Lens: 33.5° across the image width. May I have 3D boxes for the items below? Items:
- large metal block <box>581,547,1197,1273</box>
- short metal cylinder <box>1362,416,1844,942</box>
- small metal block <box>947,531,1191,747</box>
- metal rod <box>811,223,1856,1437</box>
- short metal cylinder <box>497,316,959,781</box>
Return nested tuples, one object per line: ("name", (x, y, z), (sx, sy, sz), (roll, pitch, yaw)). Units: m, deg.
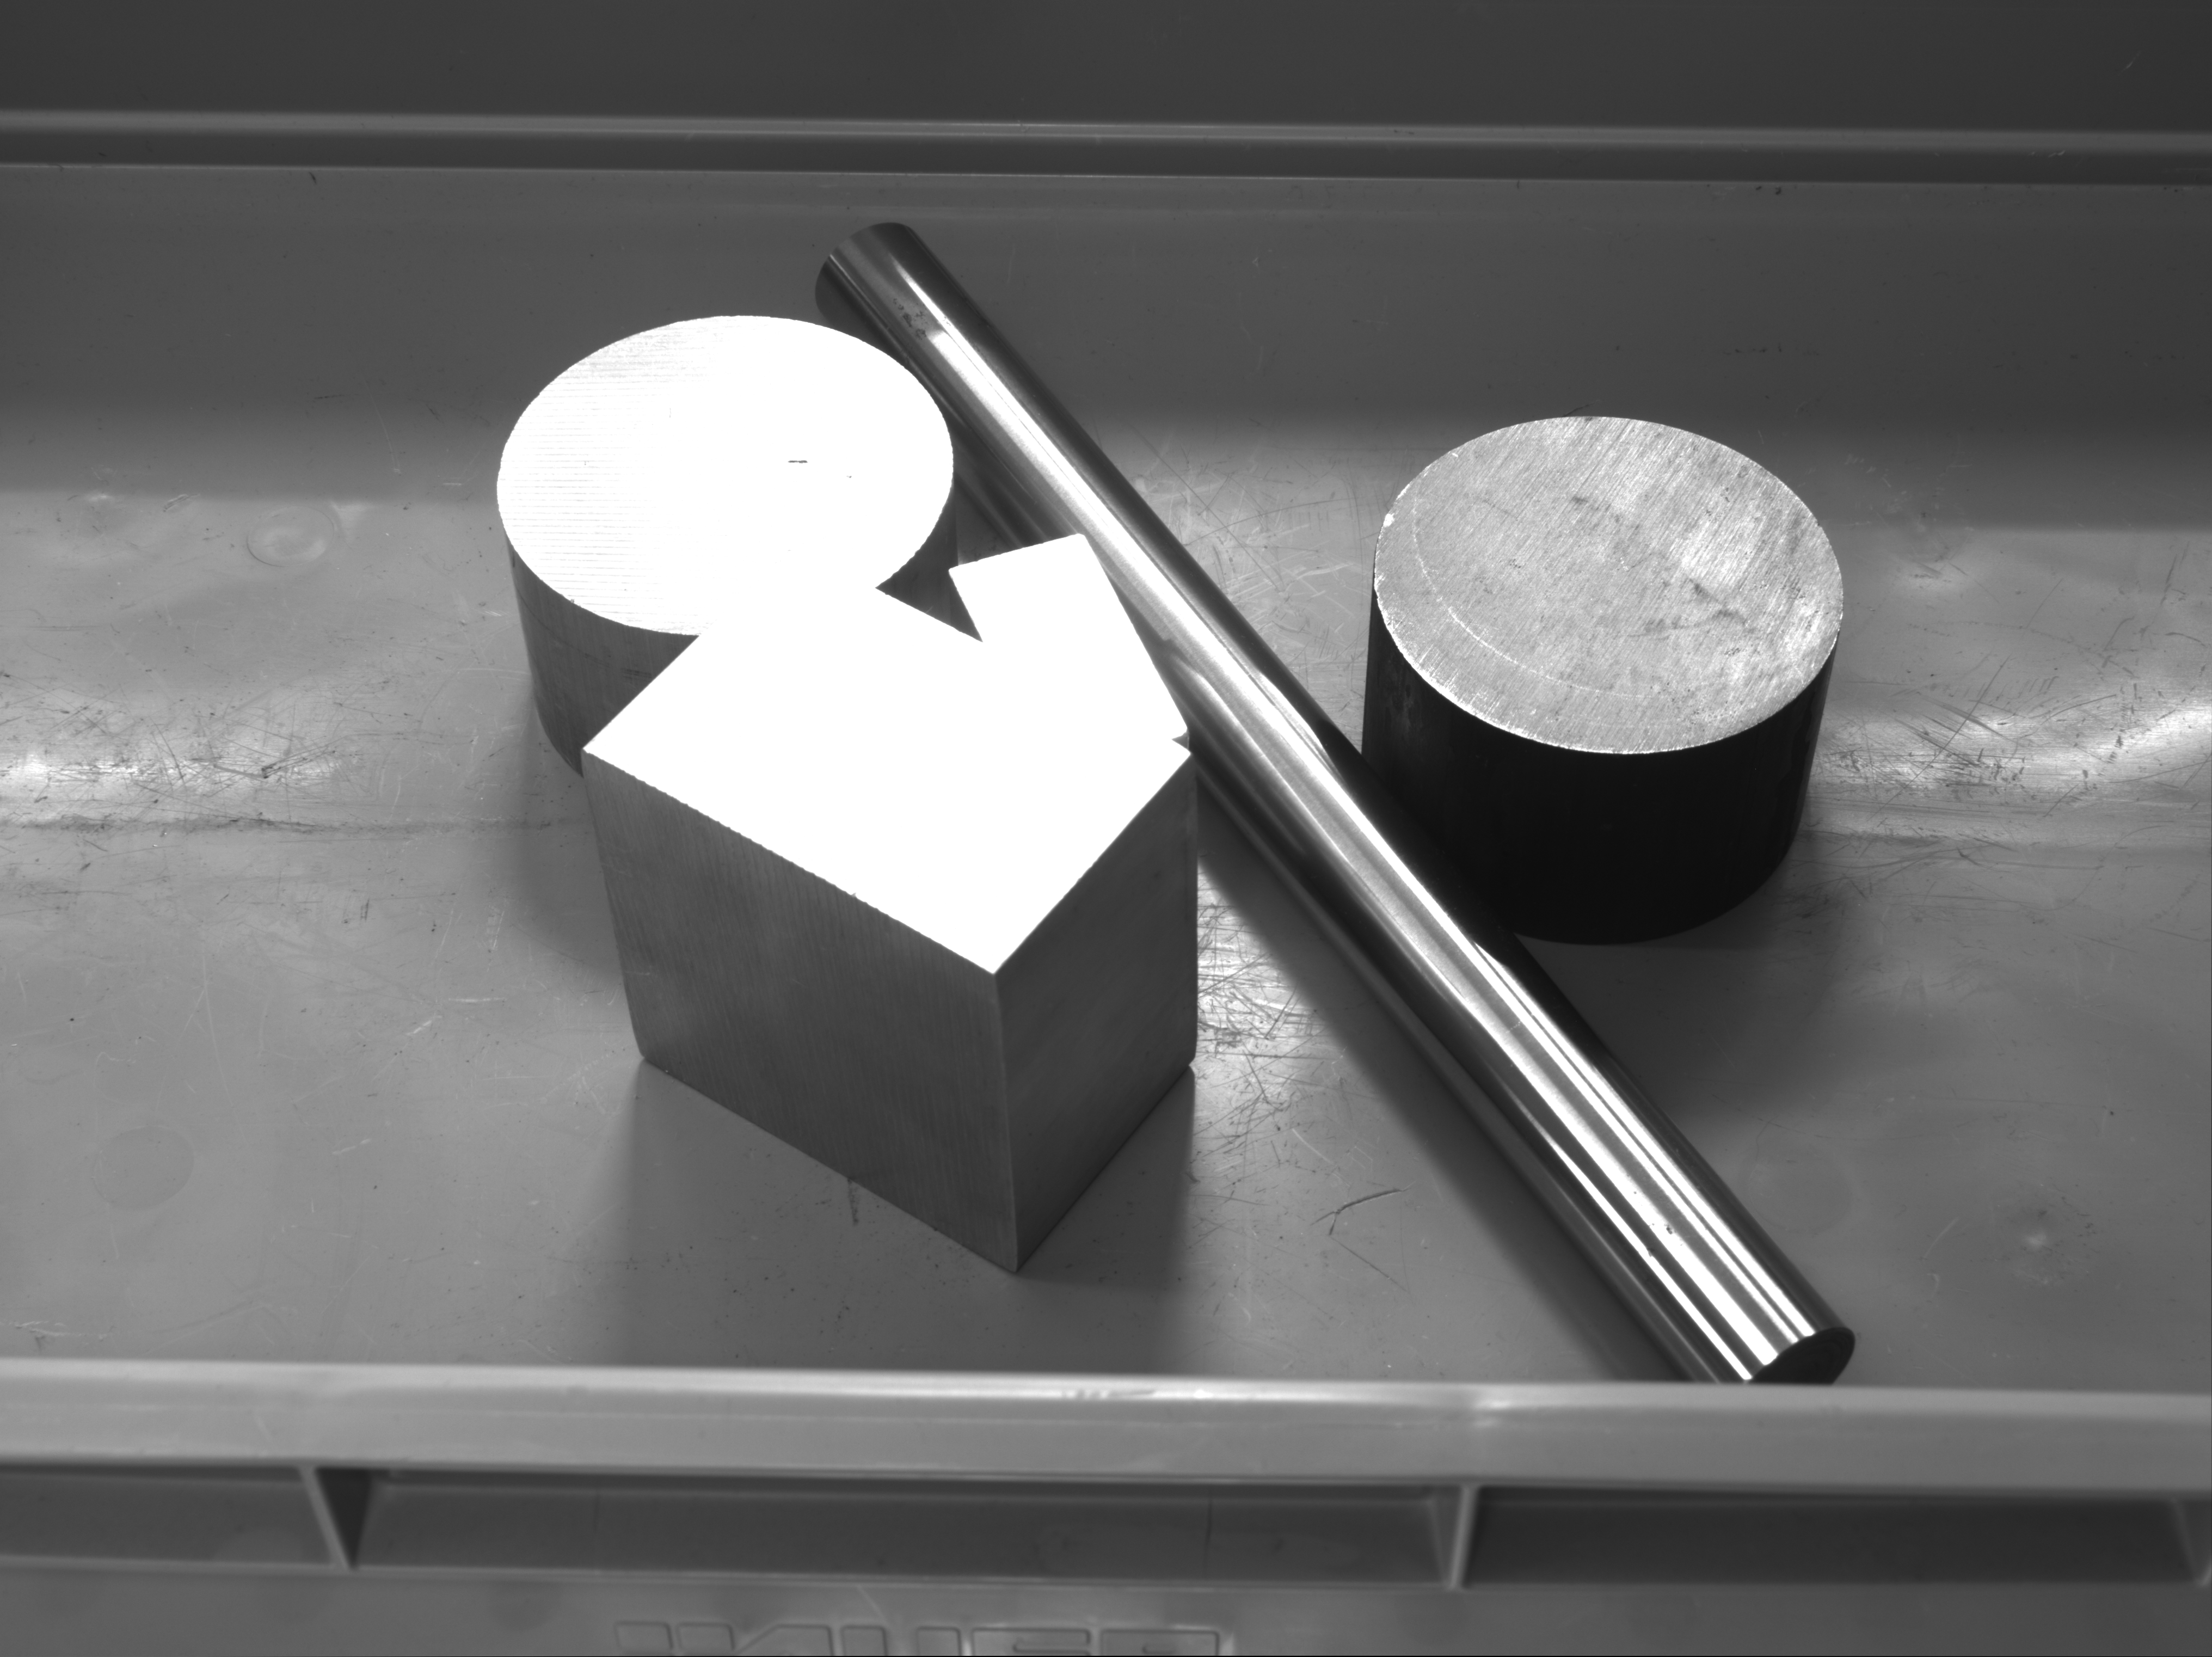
("large metal block", (-0.033, 0.013, 0.593), (0.080, 0.080, 0.050), (27, 56, 22))
("short metal cylinder", (0.086, -0.027, 0.647), (0.080, 0.050, 0.080), (0, 50, 0))
("small metal block", (-0.006, -0.014, 0.636), (0.025, 0.050, 0.050), (-16, 52, -13))
("metal rod", (0.029, -0.012, 0.651), (0.025, 0.025, 0.299), (-25, 54, -19))
("short metal cylinder", (-0.067, -0.047, 0.664), (0.080, 0.050, 0.080), (0, 50, 0))
